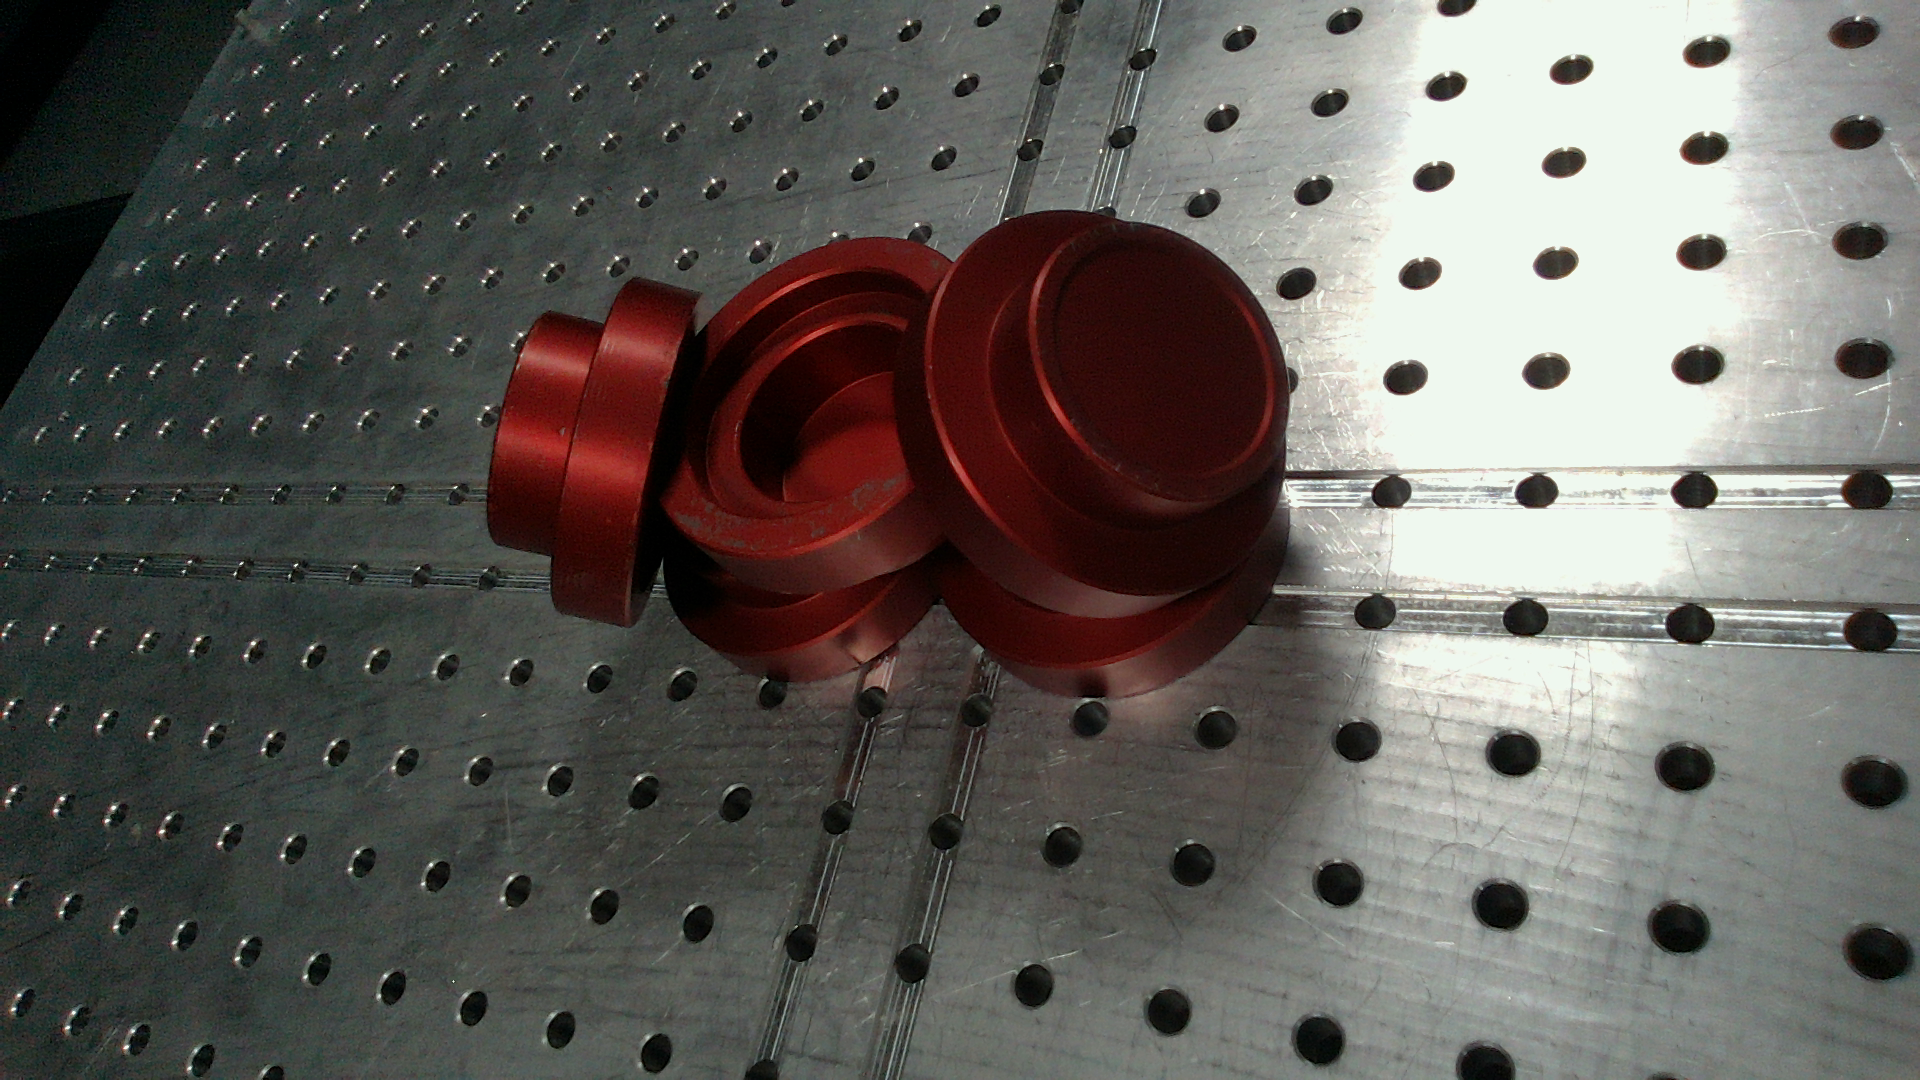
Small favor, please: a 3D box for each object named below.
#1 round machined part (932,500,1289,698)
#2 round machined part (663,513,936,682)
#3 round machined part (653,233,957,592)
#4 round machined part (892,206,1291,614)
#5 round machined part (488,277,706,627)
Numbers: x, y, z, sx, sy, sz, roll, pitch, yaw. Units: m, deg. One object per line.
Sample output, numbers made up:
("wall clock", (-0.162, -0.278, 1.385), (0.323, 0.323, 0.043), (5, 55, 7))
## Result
("round machined part", (0.036, -0.010, 0.372), (0.098, 0.042, 0.098), (-13, 56, 21))
("round machined part", (-0.050, -0.010, 0.419), (0.098, 0.042, 0.098), (-13, 56, 21))
("round machined part", (-0.030, -0.030, 0.364), (0.098, 0.042, 0.098), (-13, 56, 21))
("round machined part", (0.037, -0.035, 0.321), (0.042, 0.098, 0.098), (-38, 34, 60))
("round machined part", (-0.103, -0.027, 0.392), (0.042, 0.098, 0.098), (13, 62, -7))
